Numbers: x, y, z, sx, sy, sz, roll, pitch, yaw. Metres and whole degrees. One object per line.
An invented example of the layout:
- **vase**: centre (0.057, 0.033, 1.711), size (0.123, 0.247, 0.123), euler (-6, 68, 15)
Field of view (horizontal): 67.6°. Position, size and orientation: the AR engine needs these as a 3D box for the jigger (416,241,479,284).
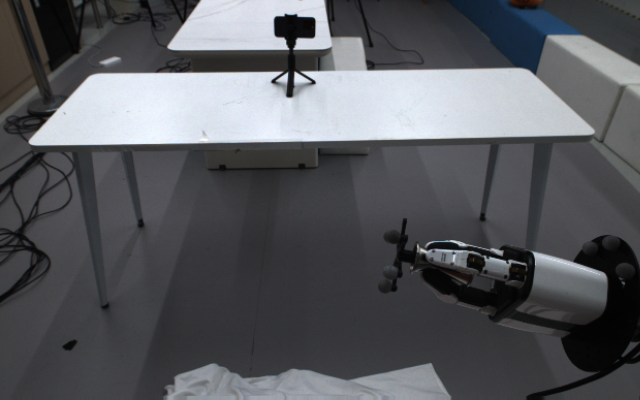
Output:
- **jigger**: centre (0.151, 0.071, 0.575), size (0.071, 0.043, 0.043), euler (11, 35, 3)
